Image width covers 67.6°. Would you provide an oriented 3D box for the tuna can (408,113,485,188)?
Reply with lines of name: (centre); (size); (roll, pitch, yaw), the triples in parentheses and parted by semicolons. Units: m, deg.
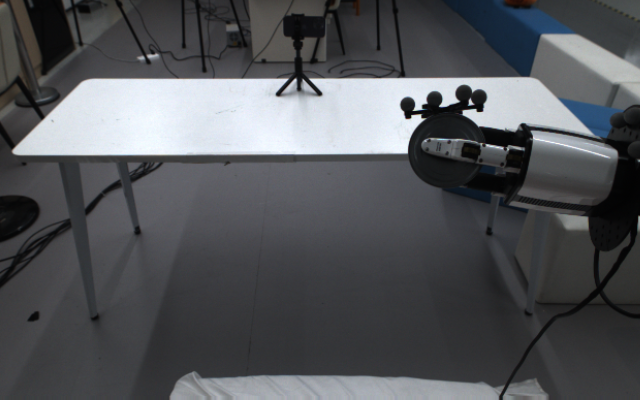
tuna can: (0.147, -0.058, 0.561); (0.085, 0.085, 0.034); (10, 3, 11)
